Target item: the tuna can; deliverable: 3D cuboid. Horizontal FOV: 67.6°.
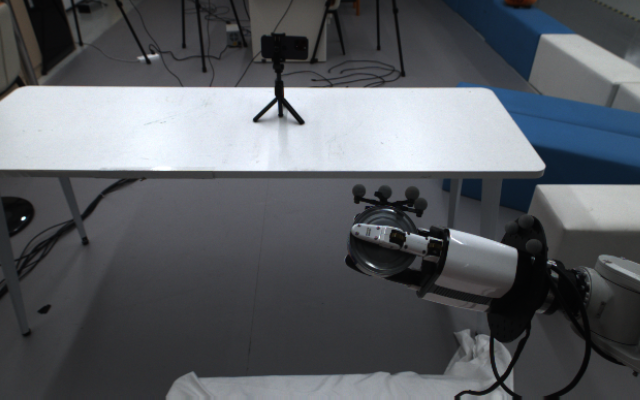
[{"bbox_3d":[0.078,0.048,0.596,0.085,0.034,0.085,1,72,-3],"label":"tuna can"}]
